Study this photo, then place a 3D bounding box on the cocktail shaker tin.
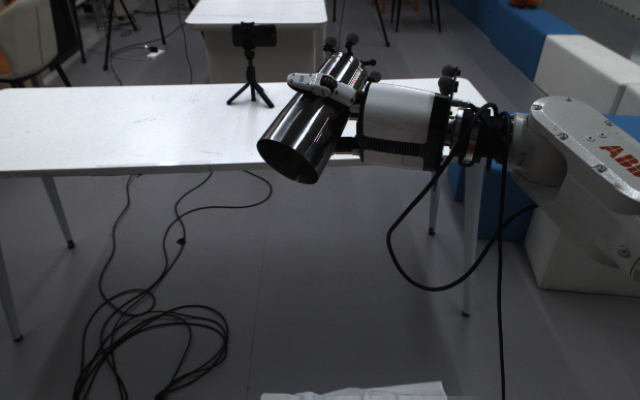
[{"bbox_3d":[0.000,-0.121,0.649,0.093,0.093,0.170,20,67,24],"label":"cocktail shaker tin"}]
